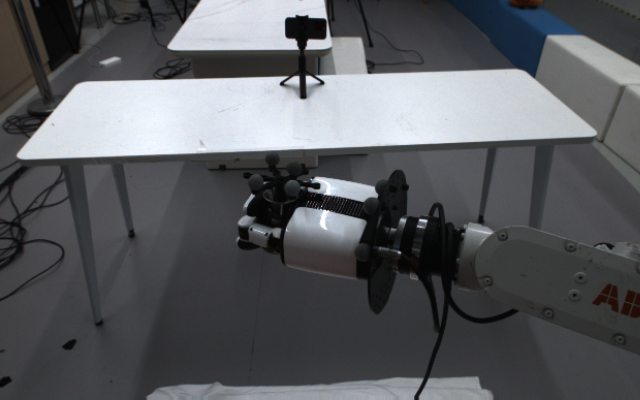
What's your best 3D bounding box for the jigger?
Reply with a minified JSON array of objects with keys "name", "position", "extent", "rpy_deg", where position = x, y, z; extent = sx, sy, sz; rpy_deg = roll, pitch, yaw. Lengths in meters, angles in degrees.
[{"name":"jigger","position":[-0.046,0.024,0.569],"extent":[0.043,0.071,0.043],"rpy_deg":[5,26,-3]}]
